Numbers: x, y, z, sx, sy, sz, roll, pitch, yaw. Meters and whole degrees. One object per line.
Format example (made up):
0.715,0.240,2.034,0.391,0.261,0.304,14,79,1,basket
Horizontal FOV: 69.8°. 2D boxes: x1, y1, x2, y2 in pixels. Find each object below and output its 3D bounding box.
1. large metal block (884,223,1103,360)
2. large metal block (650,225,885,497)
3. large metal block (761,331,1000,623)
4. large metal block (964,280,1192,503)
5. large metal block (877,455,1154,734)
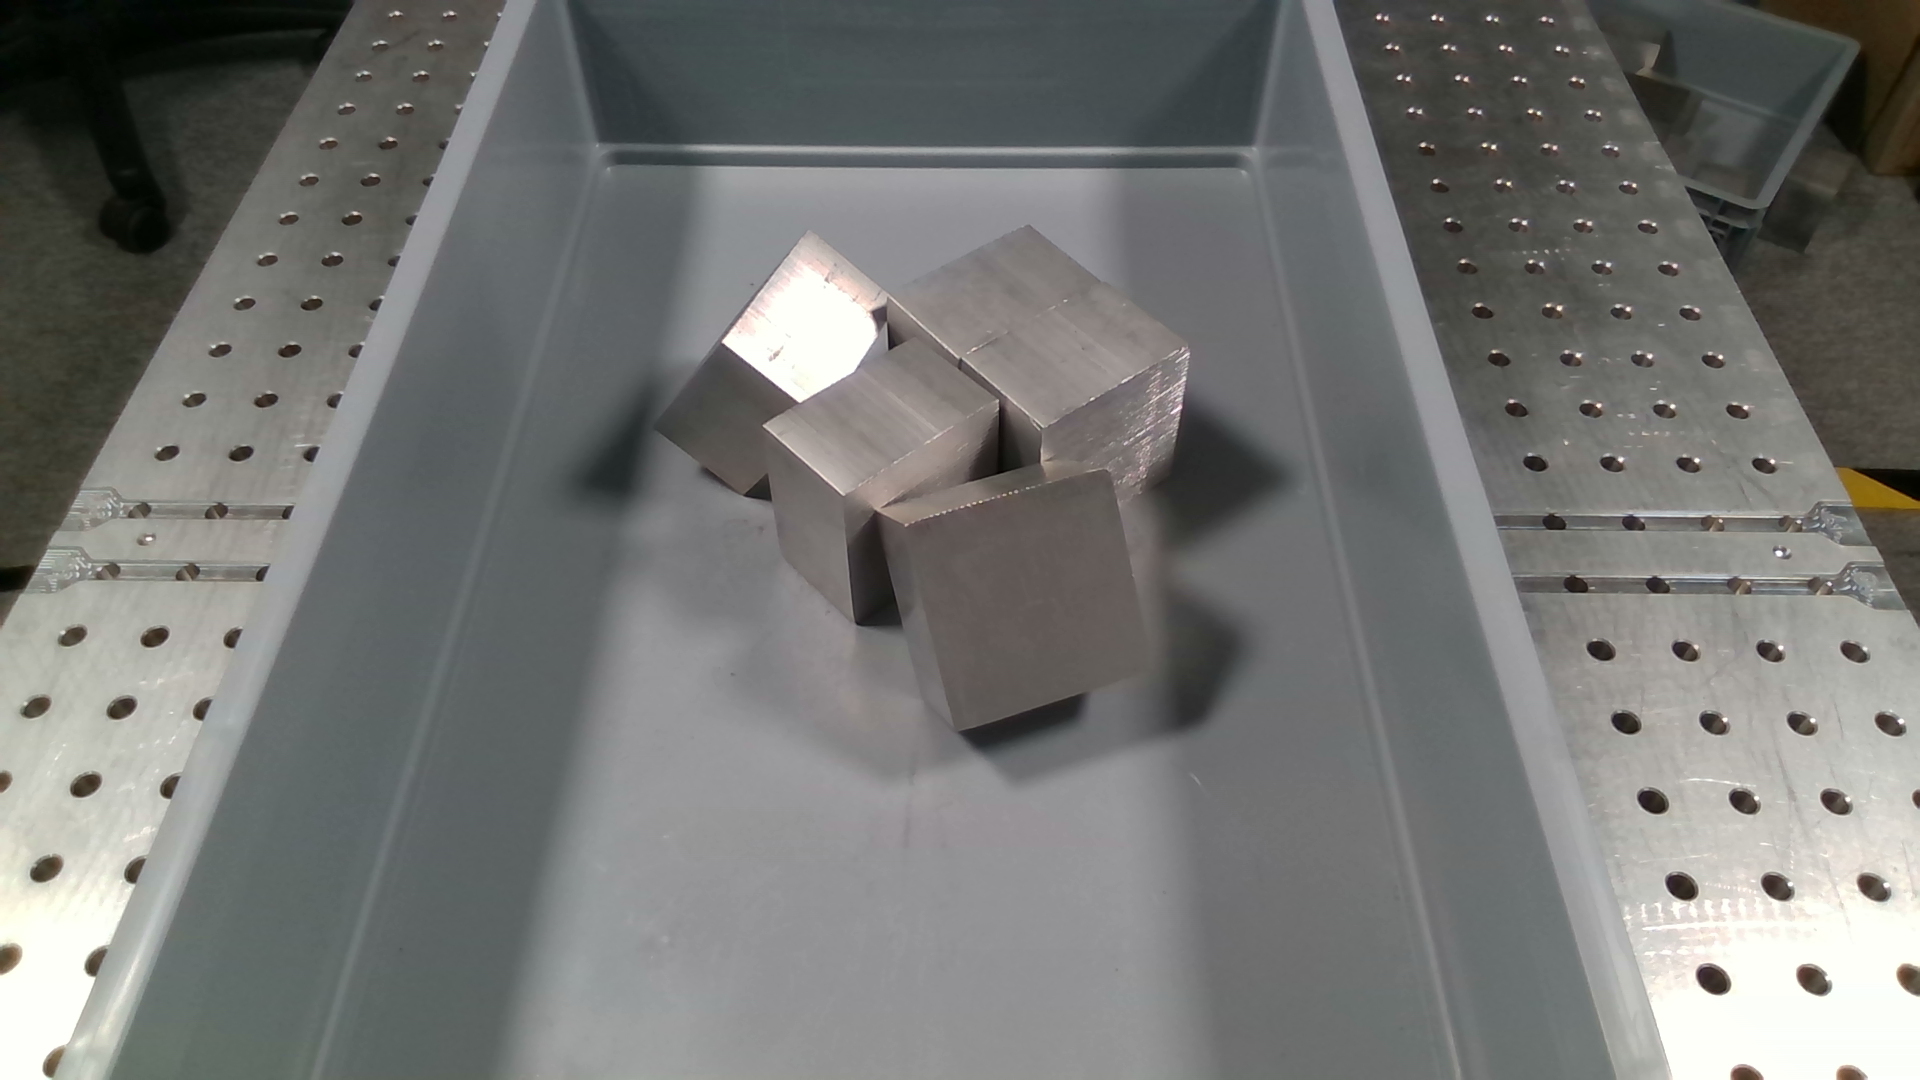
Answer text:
0.015,-0.083,0.619,0.080,0.080,0.050,-31,56,-23,large metal block
-0.082,-0.077,0.606,0.050,0.080,0.080,38,52,-14,large metal block
-0.031,-0.026,0.571,0.080,0.080,0.050,-34,58,-25,large metal block
0.049,-0.052,0.593,0.080,0.080,0.050,-32,57,-24,large metal block
0.020,0.018,0.526,0.080,0.080,0.050,-16,12,-13,large metal block
